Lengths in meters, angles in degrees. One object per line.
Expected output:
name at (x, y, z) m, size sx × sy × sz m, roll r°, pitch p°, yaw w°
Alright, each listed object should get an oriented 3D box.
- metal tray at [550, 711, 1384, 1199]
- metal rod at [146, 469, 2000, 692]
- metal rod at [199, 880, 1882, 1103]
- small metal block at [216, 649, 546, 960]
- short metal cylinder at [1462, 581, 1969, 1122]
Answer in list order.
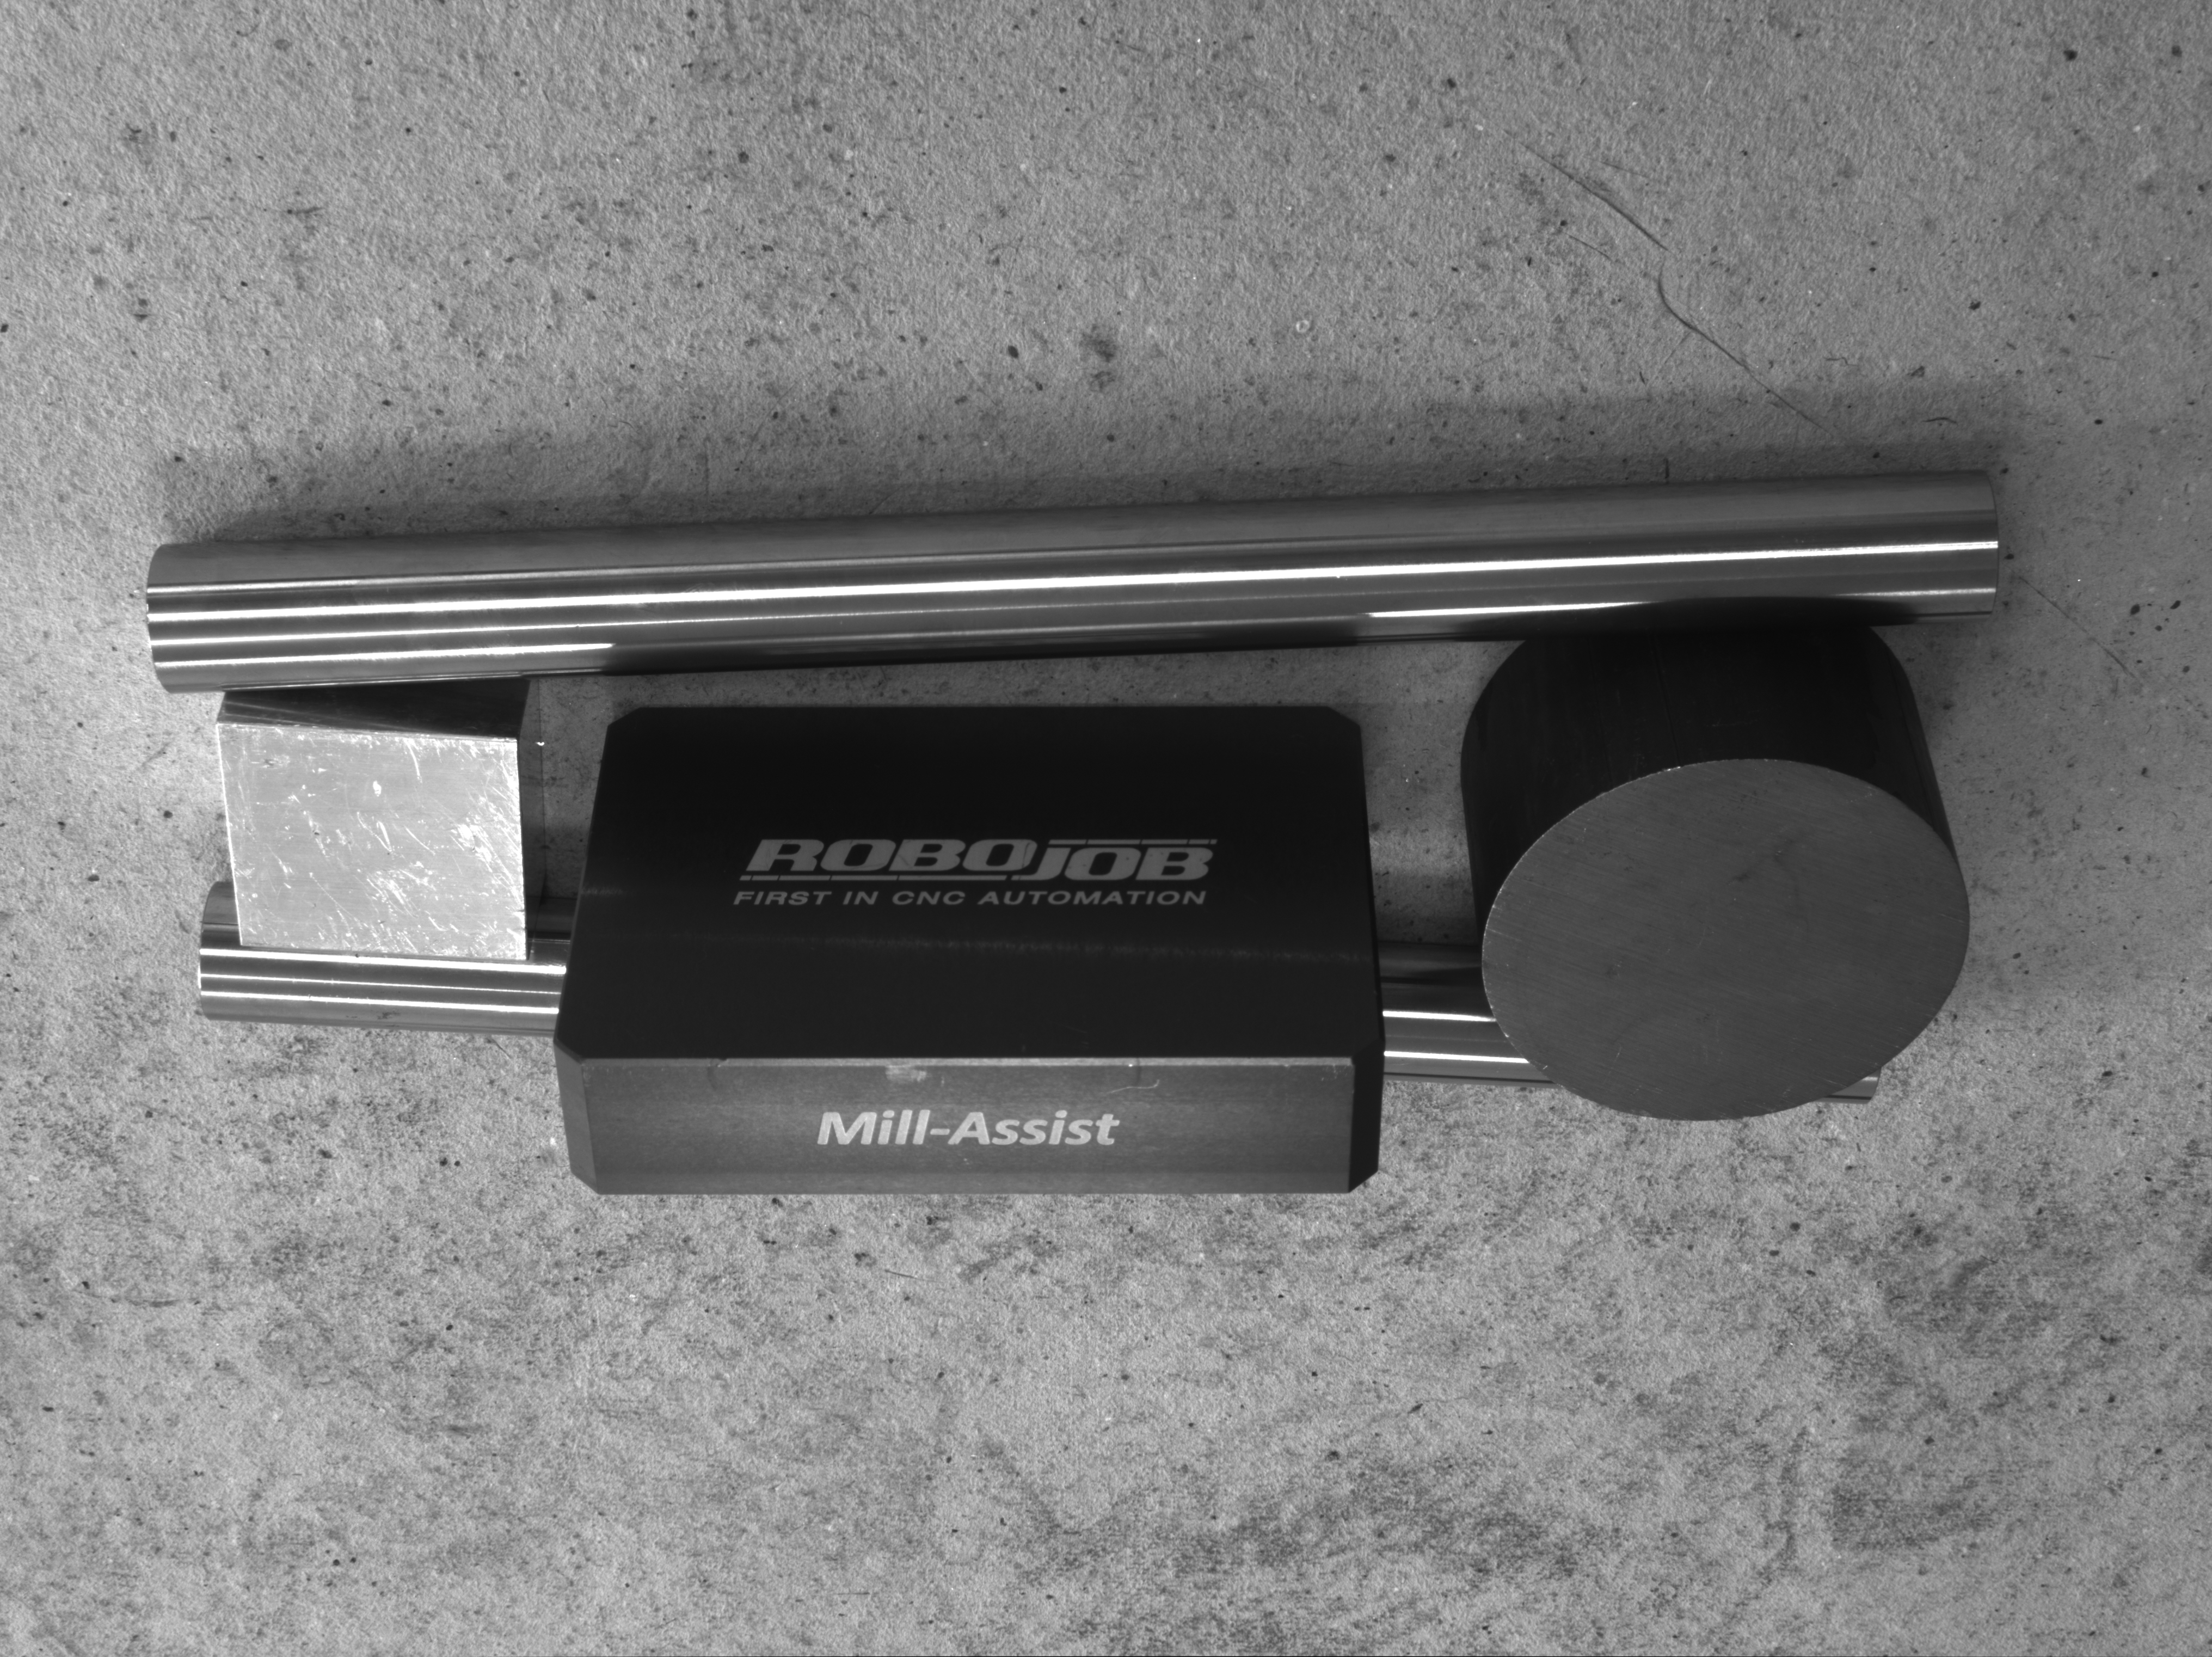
metal tray at (-0.021, 0.019, 0.612) m, size 0.130 × 0.090 × 0.030 m, roll 0°, pitch 130°, yaw 0°
metal rod at (-0.006, -0.041, 0.606) m, size 0.300 × 0.025 × 0.025 m, roll -2°, pitch 130°, yaw 2°
metal rod at (-0.010, 0.030, 0.665) m, size 0.300 × 0.025 × 0.025 m, roll 3°, pitch 130°, yaw -3°
small metal block at (-0.124, -0.005, 0.636) m, size 0.050 × 0.025 × 0.050 m, roll 3°, pitch 130°, yaw -3°
short metal cylinder at (0.102, 0.004, 0.627) m, size 0.080 × 0.050 × 0.080 m, roll 0°, pitch 130°, yaw 0°
